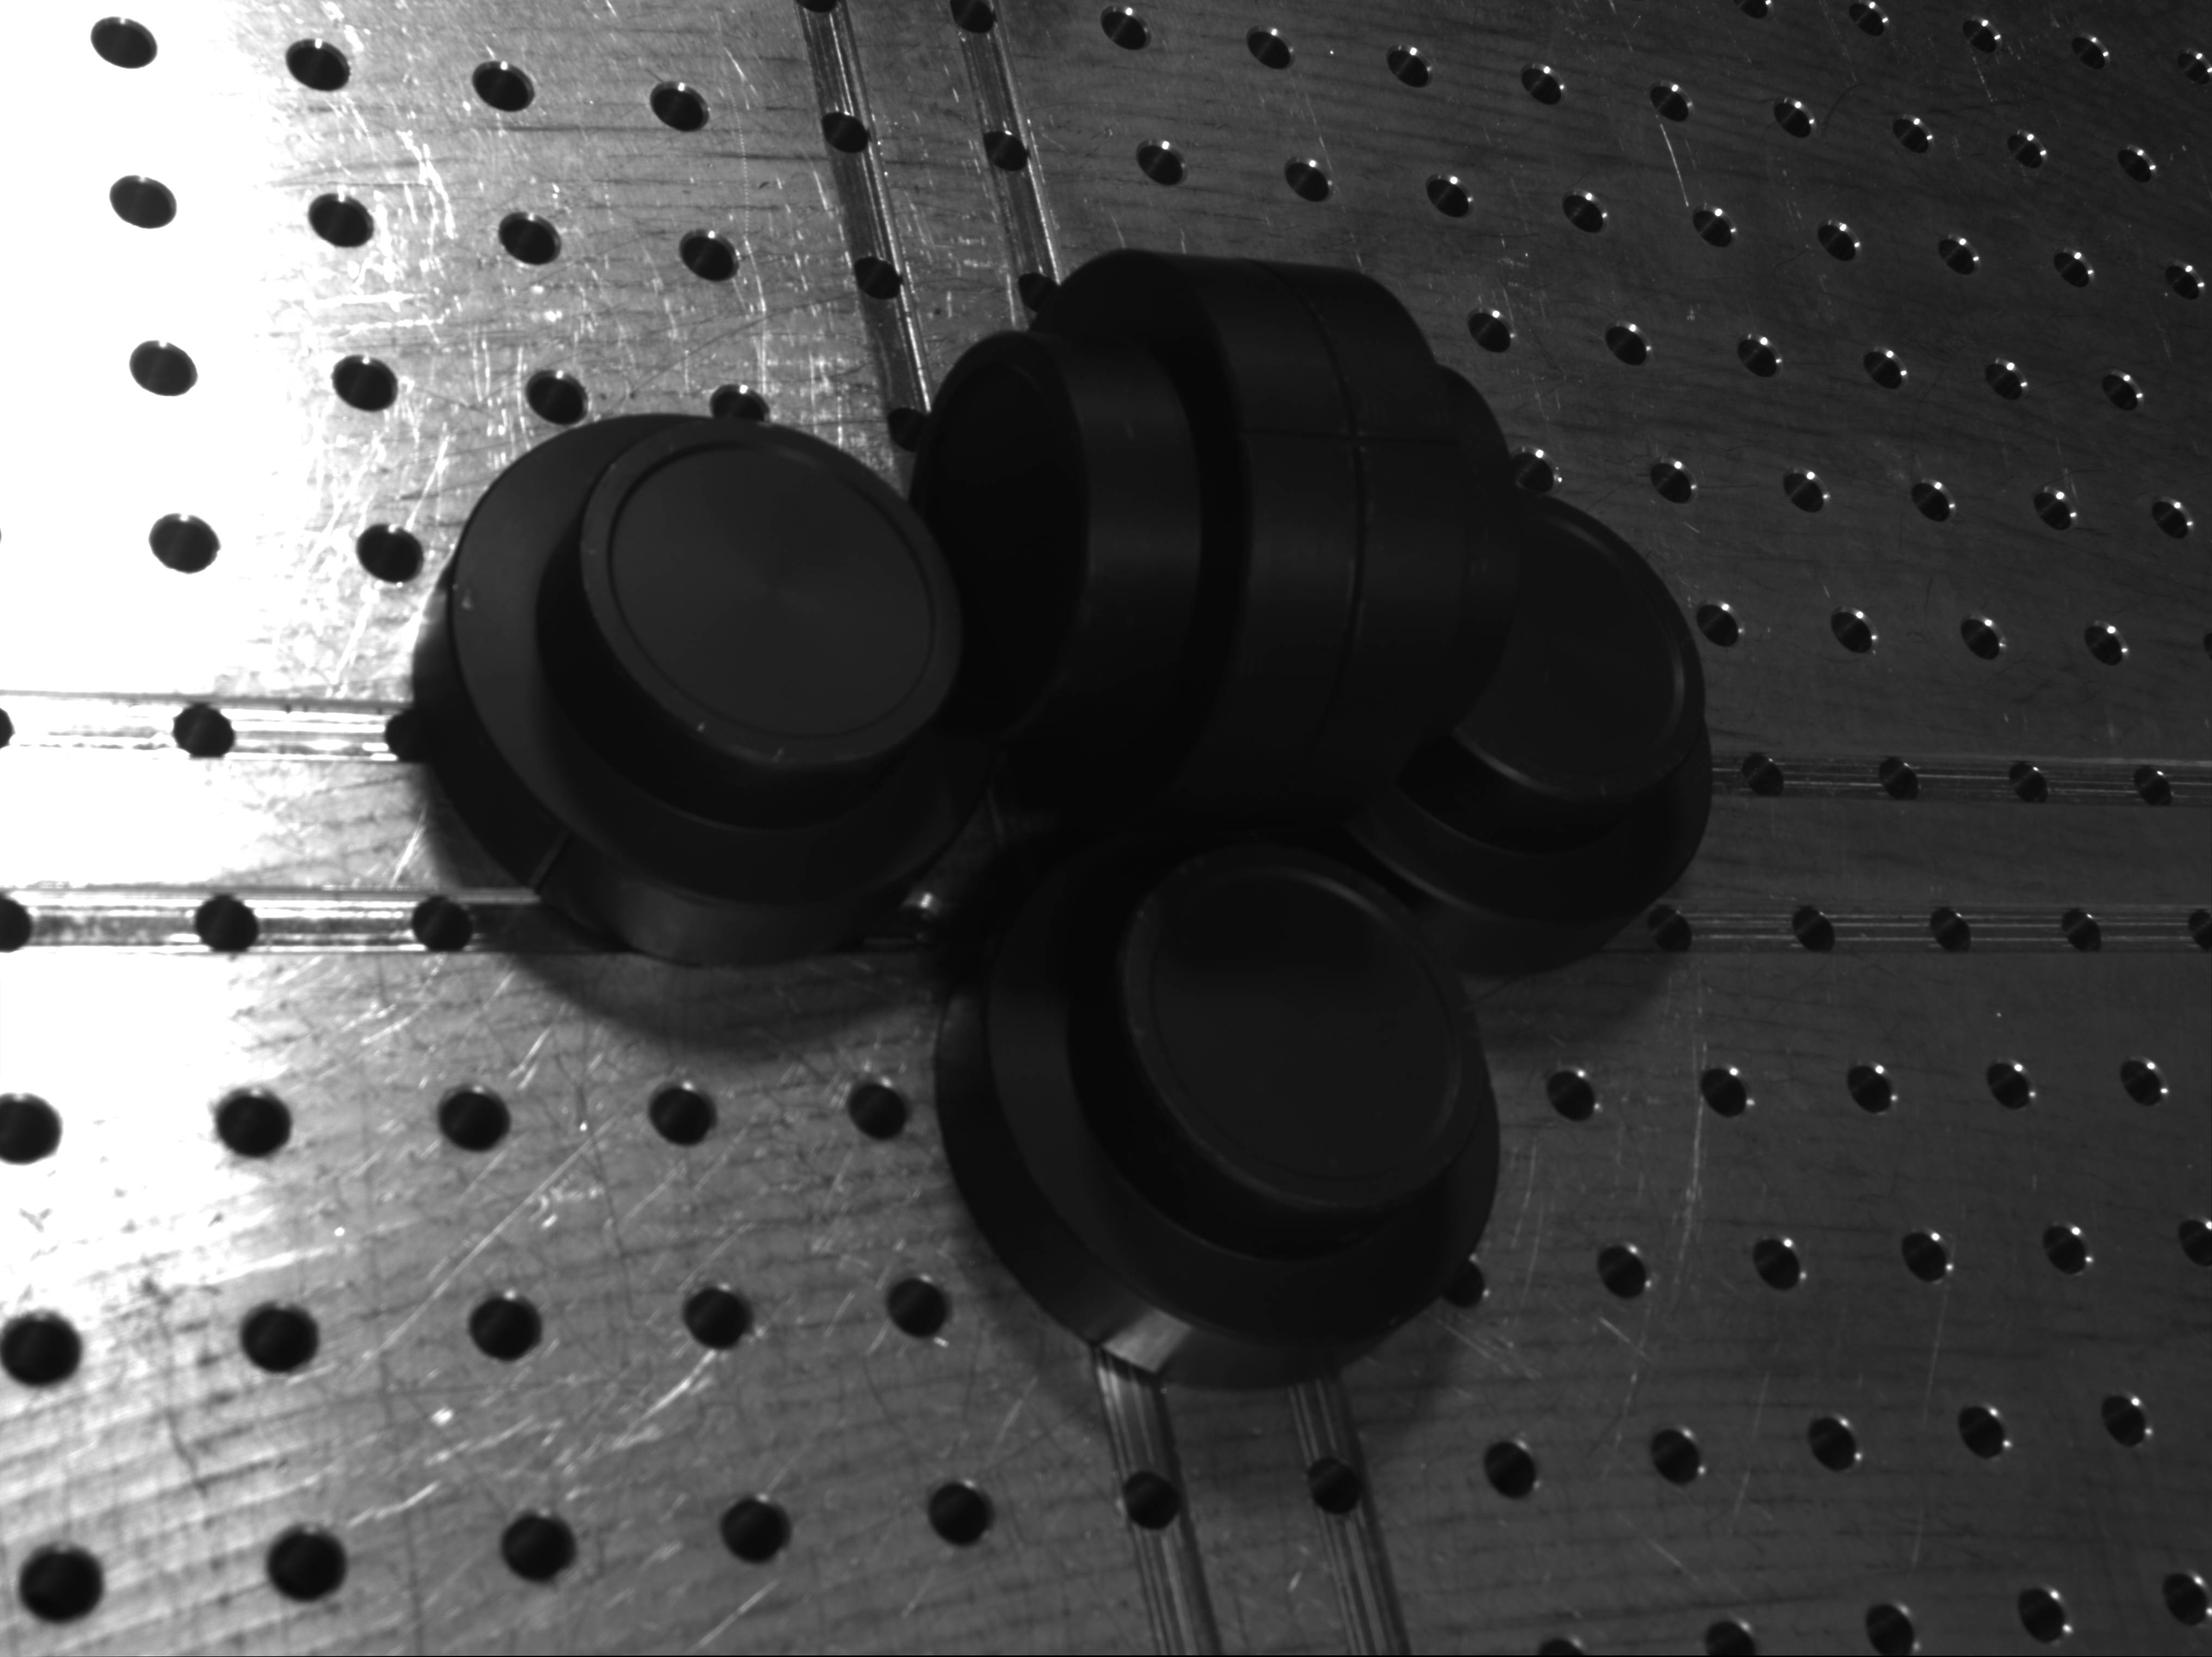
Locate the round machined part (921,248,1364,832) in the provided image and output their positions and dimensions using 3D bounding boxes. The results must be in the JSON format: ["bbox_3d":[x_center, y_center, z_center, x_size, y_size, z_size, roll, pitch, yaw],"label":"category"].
[{"bbox_3d":[0.001,-0.049,0.618,0.042,0.098,0.098,1,61,-27],"label":"round machined part"}]

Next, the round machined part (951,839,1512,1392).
[{"bbox_3d":[0.027,0.042,0.620,0.098,0.042,0.098,14,56,-21],"label":"round machined part"}]

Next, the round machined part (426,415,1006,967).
[{"bbox_3d":[-0.061,-0.029,0.617,0.098,0.042,0.098,14,56,-21],"label":"round machined part"}]

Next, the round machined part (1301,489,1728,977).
[{"bbox_3d":[0.075,-0.025,0.687,0.098,0.042,0.098,14,56,-21],"label":"round machined part"}]

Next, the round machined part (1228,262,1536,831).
[{"bbox_3d":[0.039,-0.049,0.639,0.042,0.098,0.098,-1,62,-28],"label":"round machined part"}]
